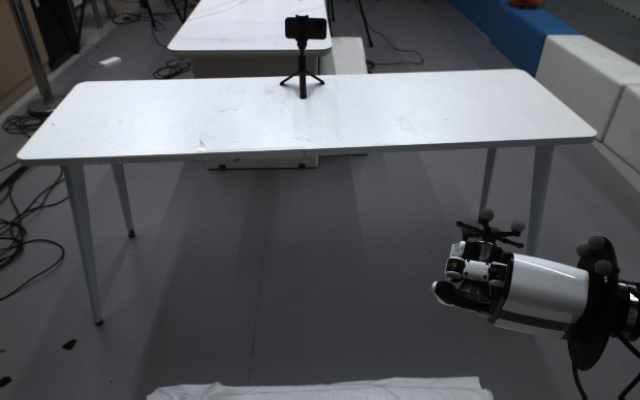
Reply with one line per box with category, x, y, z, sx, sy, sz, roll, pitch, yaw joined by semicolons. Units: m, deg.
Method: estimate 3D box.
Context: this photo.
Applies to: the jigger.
jigger;0.202;0.086;0.608;0.043;0.043;0.071;16;70;19
